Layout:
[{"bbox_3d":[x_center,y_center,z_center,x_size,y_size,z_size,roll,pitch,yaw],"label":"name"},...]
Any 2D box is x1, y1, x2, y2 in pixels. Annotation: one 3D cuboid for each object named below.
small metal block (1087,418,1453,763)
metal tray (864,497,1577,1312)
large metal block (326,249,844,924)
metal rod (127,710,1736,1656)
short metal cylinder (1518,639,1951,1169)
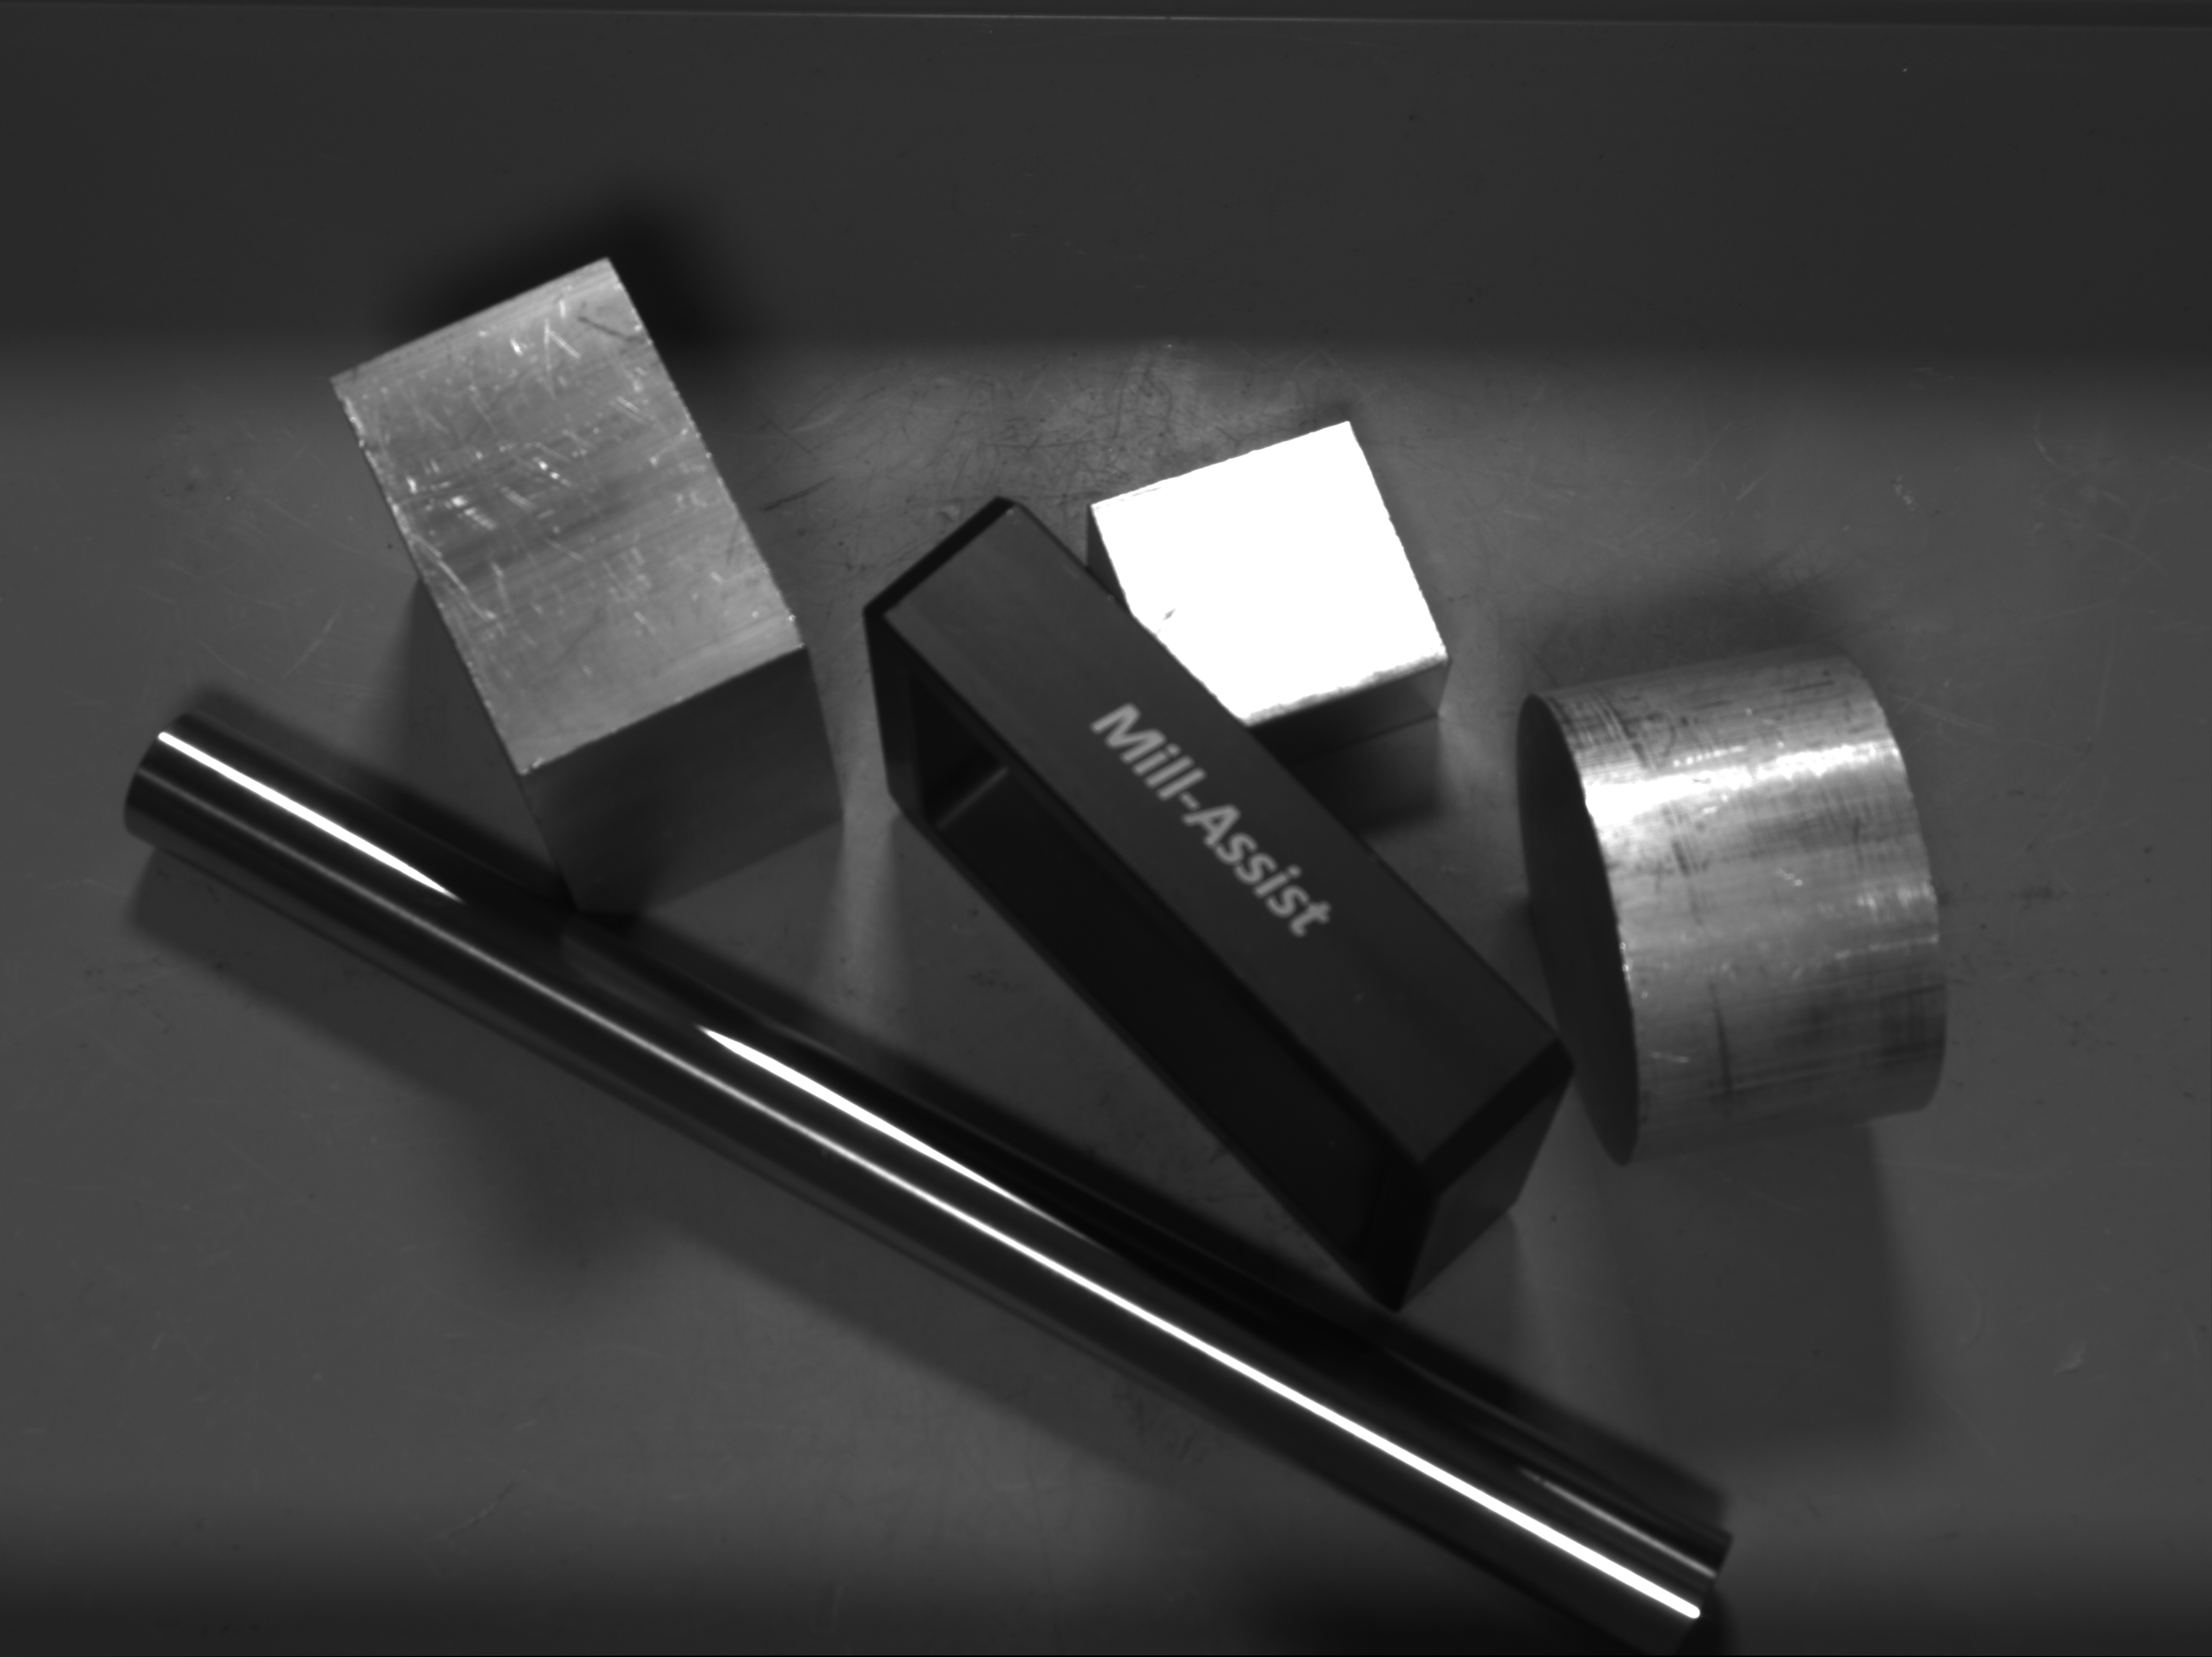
[{"bbox_3d":[0.029,-0.039,0.657,0.050,0.025,0.050,-19,71,-7],"label":"small metal block"},{"bbox_3d":[0.016,0.015,0.603,0.030,0.090,0.130,-41,75,-14],"label":"metal tray"},{"bbox_3d":[-0.087,-0.038,0.628,0.050,0.080,0.080,-25,72,-9],"label":"large metal block"},{"bbox_3d":[-0.034,0.058,0.622,0.300,0.025,0.025,27,72,10],"label":"metal rod"},{"bbox_3d":[0.103,0.012,0.610,0.050,0.080,0.080,-11,70,-3],"label":"short metal cylinder"}]
